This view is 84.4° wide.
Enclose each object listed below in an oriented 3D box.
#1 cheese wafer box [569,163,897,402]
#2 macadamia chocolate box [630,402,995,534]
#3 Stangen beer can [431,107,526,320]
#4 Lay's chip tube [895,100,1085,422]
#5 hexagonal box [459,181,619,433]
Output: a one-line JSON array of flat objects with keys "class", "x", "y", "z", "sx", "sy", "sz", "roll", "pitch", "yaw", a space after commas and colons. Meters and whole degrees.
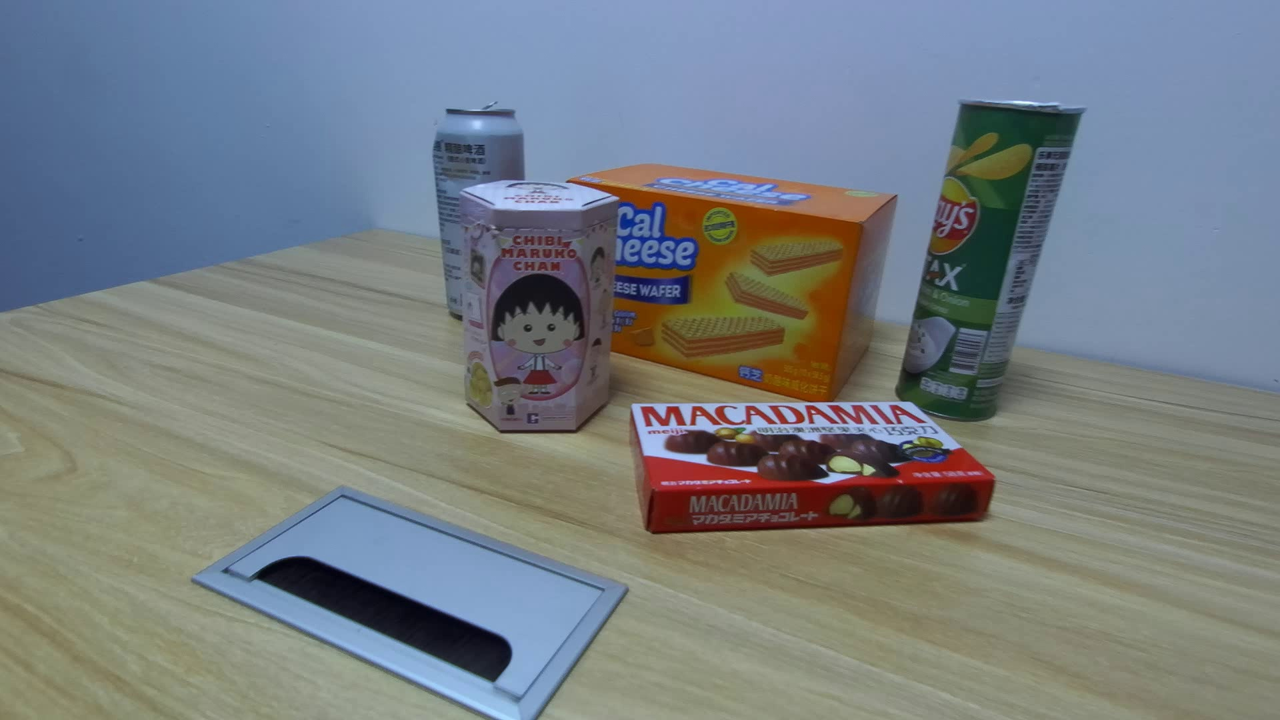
[{"class": "cheese wafer box", "x": 0.070, "y": -0.072, "z": 0.556, "sx": 0.221, "sy": 0.129, "sz": 0.148, "roll": 15, "pitch": 25, "yaw": 23}, {"class": "macadamia chocolate box", "x": 0.087, "y": 0.055, "z": 0.388, "sx": 0.178, "sy": 0.027, "sz": 0.095, "roll": 0, "pitch": 22, "yaw": -8}, {"class": "Stangen beer can", "x": -0.127, "y": -0.118, "z": 0.579, "sx": 0.070, "sy": 0.173, "sz": 0.070, "roll": 4, "pitch": 17, "yaw": 9}, {"class": "Lay's chip tube", "x": 0.225, "y": -0.064, "z": 0.465, "sx": 0.071, "sy": 0.202, "sz": 0.071, "roll": 3, "pitch": 22, "yaw": -1}, {"class": "hexagonal box", "x": -0.060, "y": -0.032, "z": 0.429, "sx": 0.091, "sy": 0.136, "sz": 0.083, "roll": 1, "pitch": 21, "yaw": -7}]
